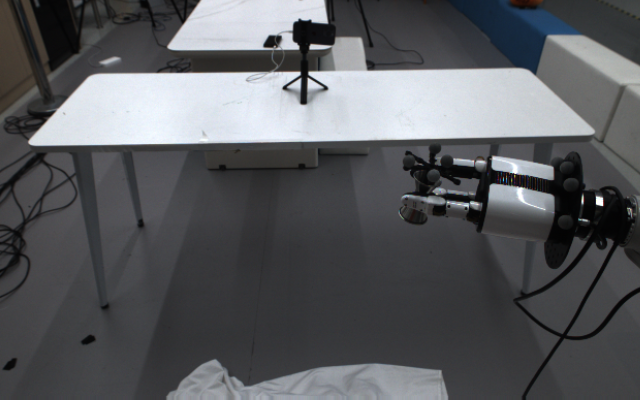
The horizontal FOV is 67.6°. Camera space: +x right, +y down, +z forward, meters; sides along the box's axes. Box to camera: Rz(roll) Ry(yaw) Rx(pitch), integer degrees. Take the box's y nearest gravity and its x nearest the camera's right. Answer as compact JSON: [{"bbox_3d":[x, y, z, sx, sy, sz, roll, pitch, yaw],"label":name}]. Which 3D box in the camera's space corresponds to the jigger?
[{"bbox_3d":[0.142,-0.004,0.694,0.043,0.071,0.043,10,35,-7],"label":"jigger"}]
